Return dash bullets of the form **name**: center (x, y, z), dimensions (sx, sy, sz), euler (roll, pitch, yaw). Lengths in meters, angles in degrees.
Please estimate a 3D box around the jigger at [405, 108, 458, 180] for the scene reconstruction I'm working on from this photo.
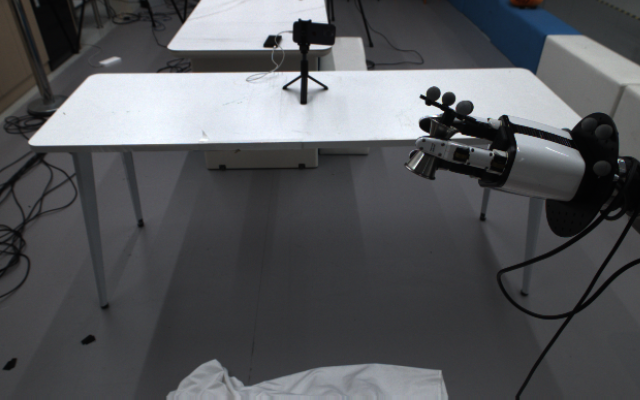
- **jigger**: center (0.139, -0.066, 0.609), dimensions (0.043, 0.071, 0.043), euler (23, 19, -8)
